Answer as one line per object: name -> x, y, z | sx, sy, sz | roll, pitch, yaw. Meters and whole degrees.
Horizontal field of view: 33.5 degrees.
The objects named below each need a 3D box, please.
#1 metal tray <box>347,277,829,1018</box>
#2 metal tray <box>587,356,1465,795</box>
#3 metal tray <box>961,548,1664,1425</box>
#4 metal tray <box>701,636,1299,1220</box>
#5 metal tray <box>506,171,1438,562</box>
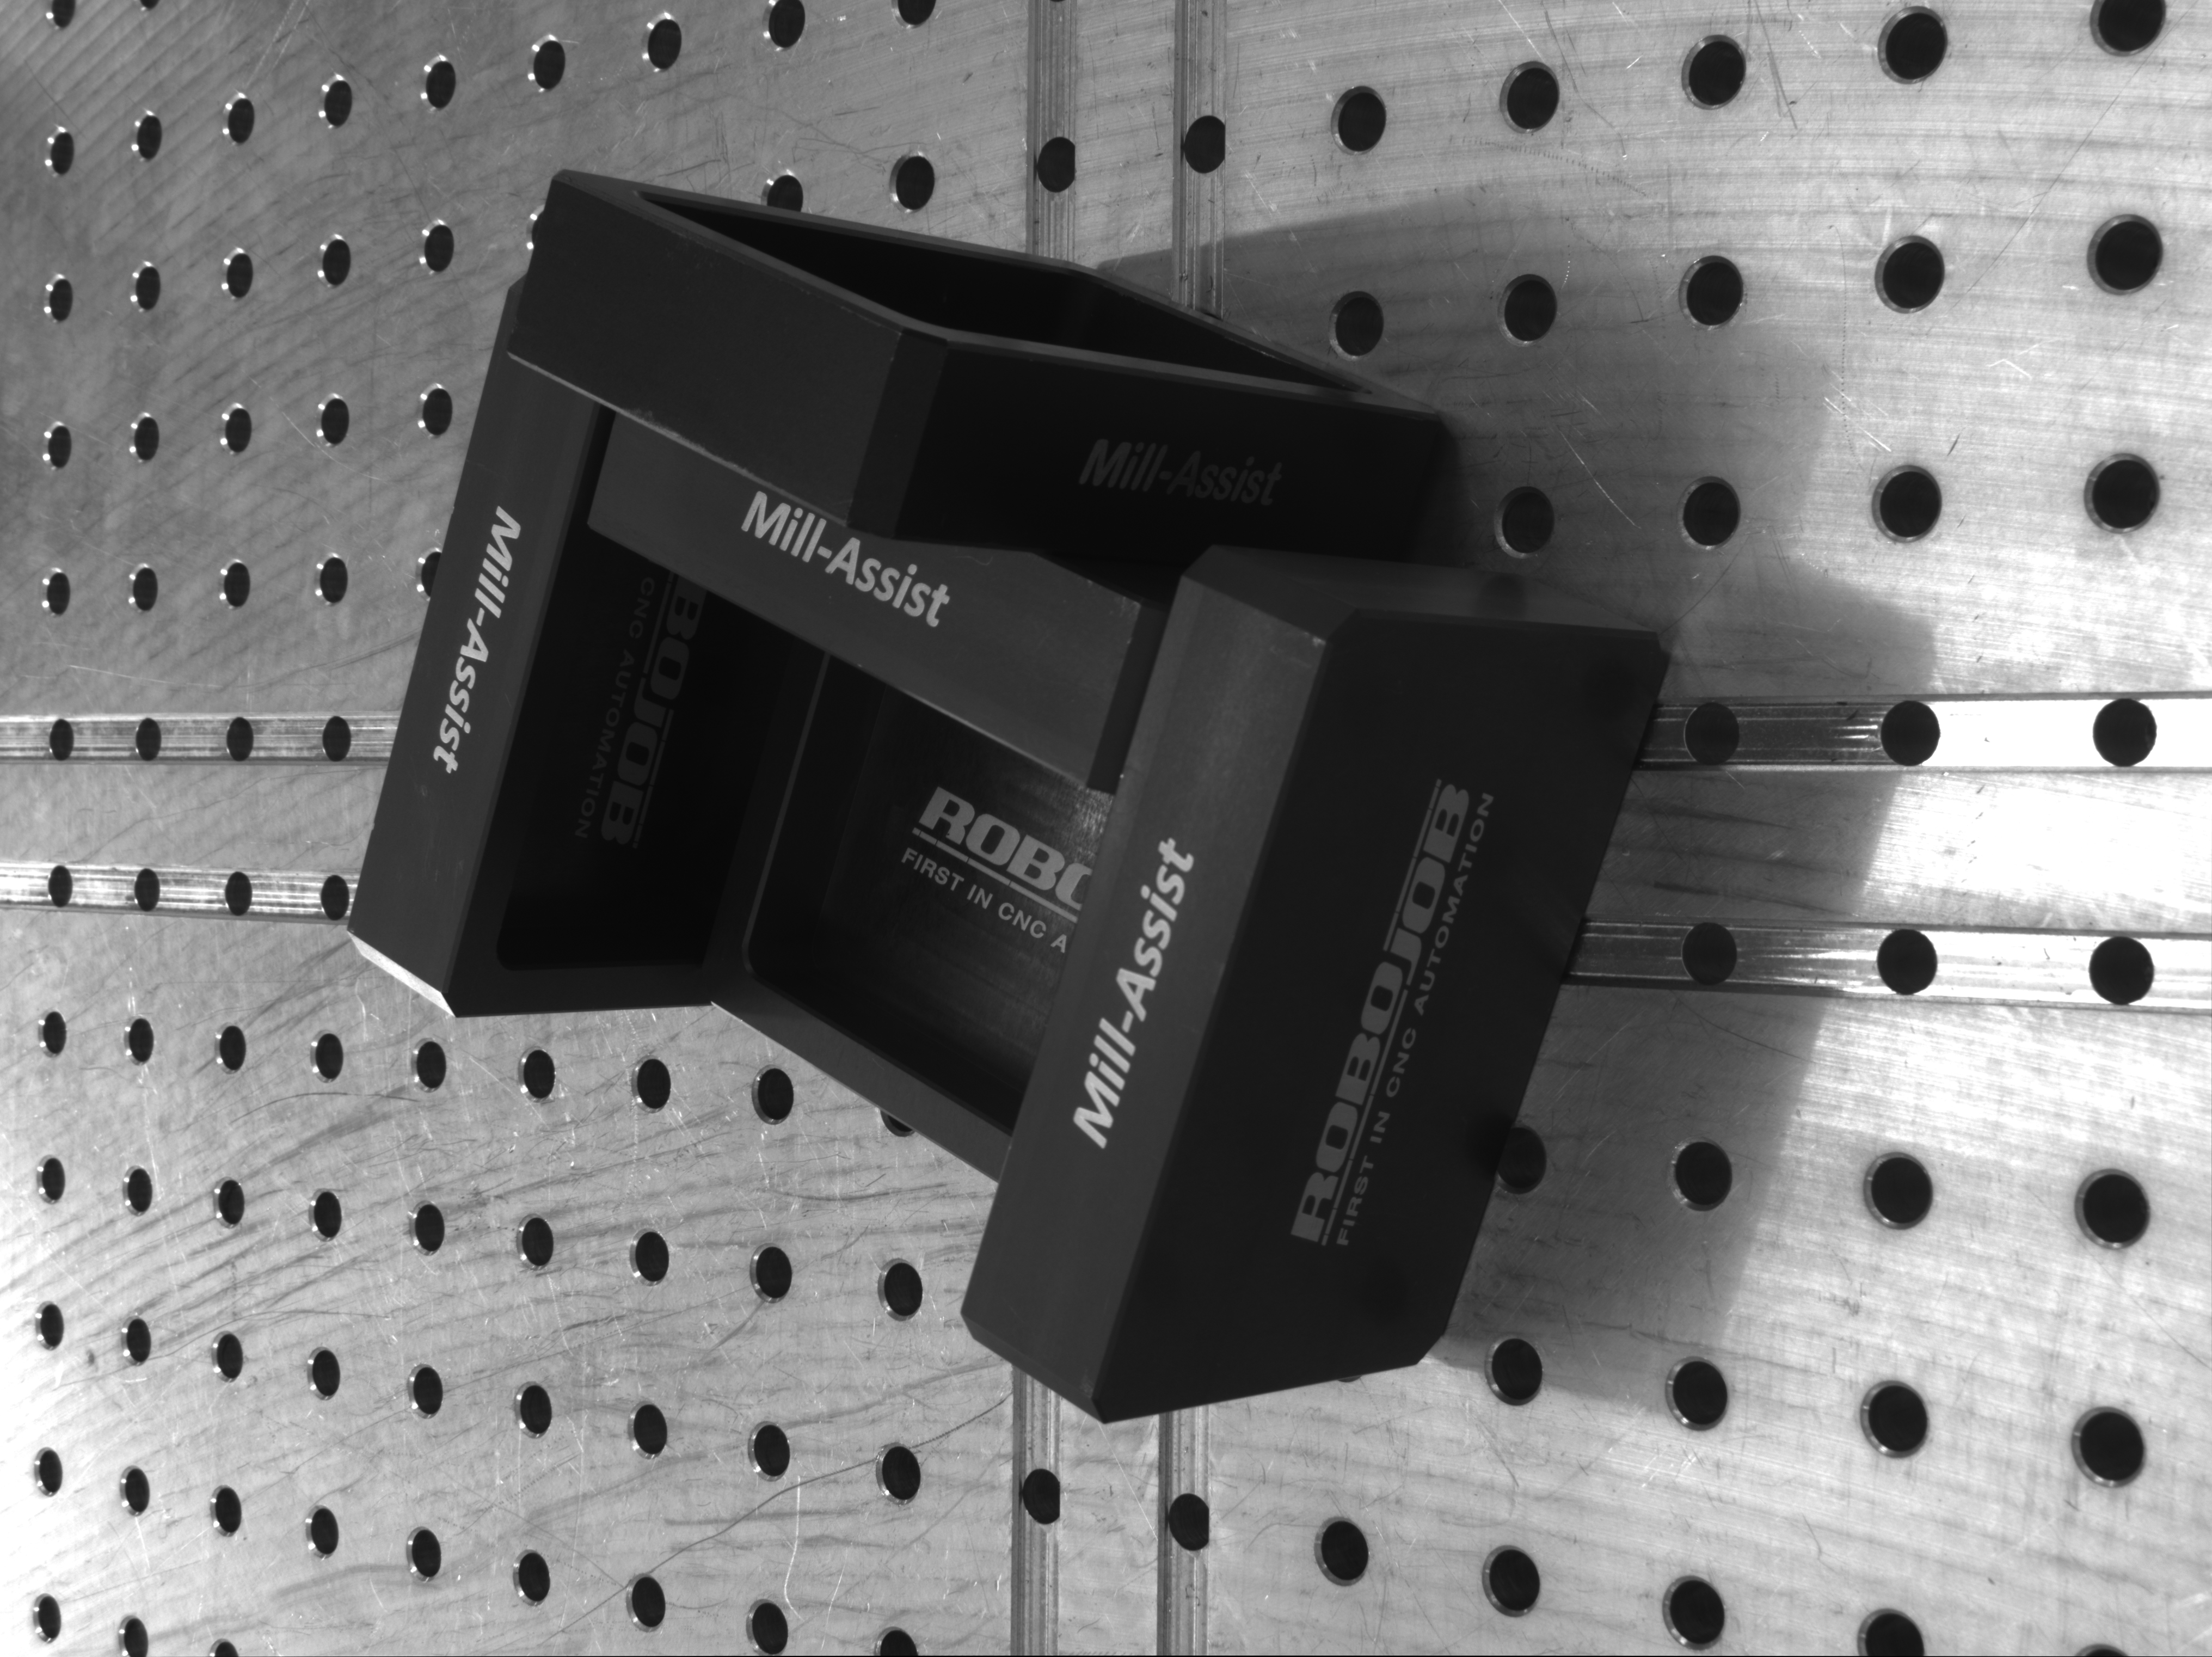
metal tray -> -0.081, -0.032, 0.674 | 0.030, 0.090, 0.130 | 27, 107, 37
metal tray -> -0.012, -0.043, 0.616 | 0.130, 0.090, 0.030 | 28, 108, 36
metal tray -> 0.034, 0.024, 0.577 | 0.030, 0.090, 0.130 | 27, 107, 37
metal tray -> -0.010, 0.014, 0.653 | 0.130, 0.030, 0.090 | 28, 108, 36
metal tray -> -0.019, -0.072, 0.596 | 0.090, 0.130, 0.030 | 28, 108, 36
